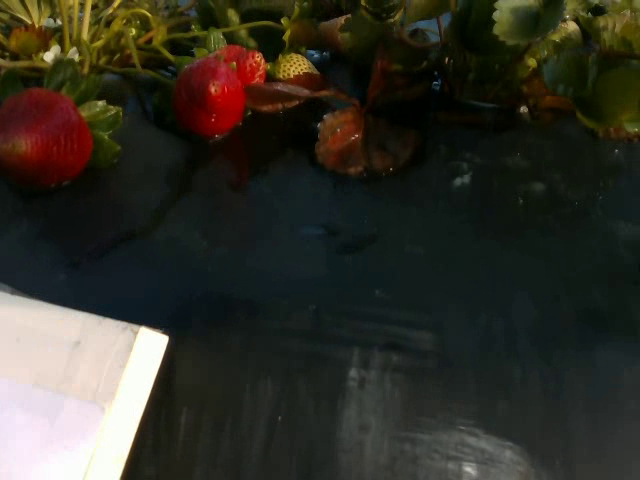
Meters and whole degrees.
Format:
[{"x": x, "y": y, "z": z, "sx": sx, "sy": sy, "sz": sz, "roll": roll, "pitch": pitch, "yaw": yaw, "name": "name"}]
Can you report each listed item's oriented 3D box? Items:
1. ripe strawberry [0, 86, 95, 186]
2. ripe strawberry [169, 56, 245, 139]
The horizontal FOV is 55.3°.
[{"x": -0.133, "y": -0.048, "z": 0.276, "sx": 0.050, "sy": 0.050, "sz": 0.065, "roll": -29, "pitch": 11, "yaw": 4, "name": "ripe strawberry"}, {"x": -0.058, "y": -0.072, "z": 0.310, "sx": 0.041, "sy": 0.045, "sz": 0.055, "roll": 42, "pitch": -6, "yaw": -16, "name": "ripe strawberry"}]
